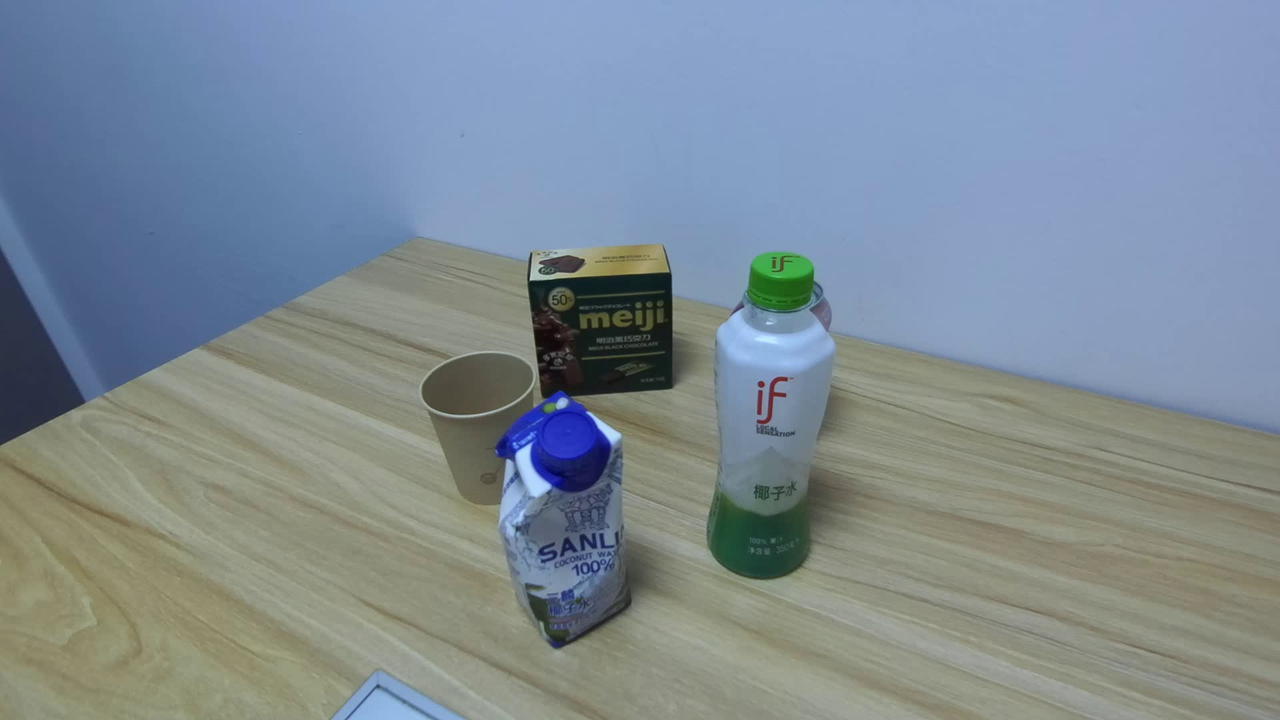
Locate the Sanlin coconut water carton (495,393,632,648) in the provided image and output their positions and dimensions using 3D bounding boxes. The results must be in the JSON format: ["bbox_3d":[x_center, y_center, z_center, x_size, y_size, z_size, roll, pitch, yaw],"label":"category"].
[{"bbox_3d":[-0.042,0.079,0.366,0.061,0.144,0.069,-23,39,-27],"label":"Sanlin coconut water carton"}]

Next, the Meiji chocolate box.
[{"bbox_3d":[-0.030,-0.030,0.564,0.110,0.109,0.056,-4,33,-3],"label":"Meiji chocolate box"}]

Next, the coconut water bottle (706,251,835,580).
[{"bbox_3d":[0.070,0.034,0.385,0.063,0.189,0.063,-1,33,1],"label":"coconut water bottle"}]

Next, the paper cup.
[{"bbox_3d":[-0.105,0.053,0.490,0.075,0.082,0.075,-2,27,1],"label":"paper cup"}]
